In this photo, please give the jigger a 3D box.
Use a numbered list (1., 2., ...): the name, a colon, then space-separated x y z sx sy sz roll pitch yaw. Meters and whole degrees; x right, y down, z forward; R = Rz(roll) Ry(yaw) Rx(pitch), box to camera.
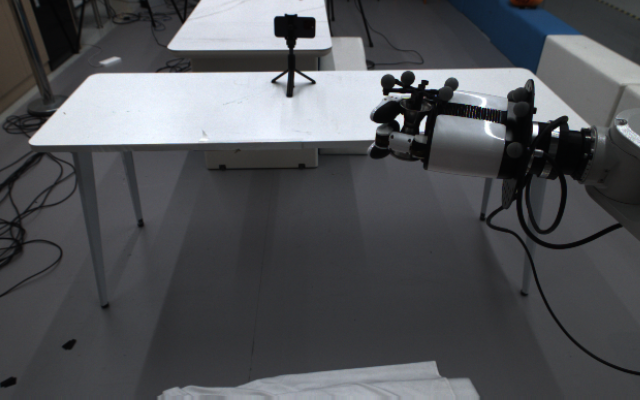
1. jigger: 0.120 -0.091 0.624 0.043 0.071 0.043 4 31 -2
